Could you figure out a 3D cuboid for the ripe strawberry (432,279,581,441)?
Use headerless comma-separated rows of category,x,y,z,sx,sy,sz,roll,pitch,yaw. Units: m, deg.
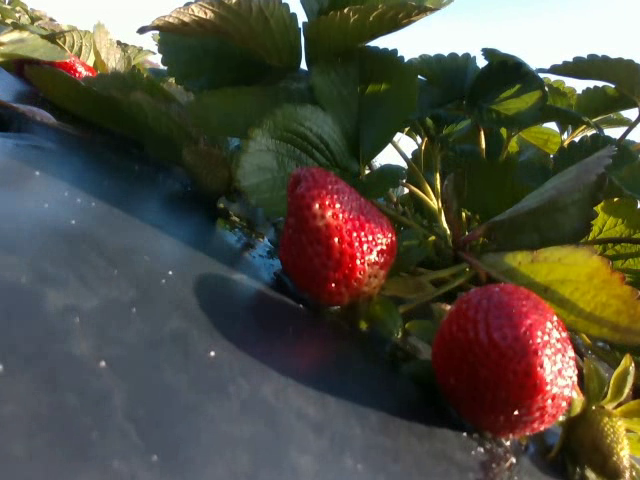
ripe strawberry,0.050,0.028,0.153,0.038,0.043,0.053,-40,-9,-3

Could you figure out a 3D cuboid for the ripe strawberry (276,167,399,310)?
ripe strawberry,0.005,-0.001,0.199,0.039,0.054,0.048,-22,29,27
